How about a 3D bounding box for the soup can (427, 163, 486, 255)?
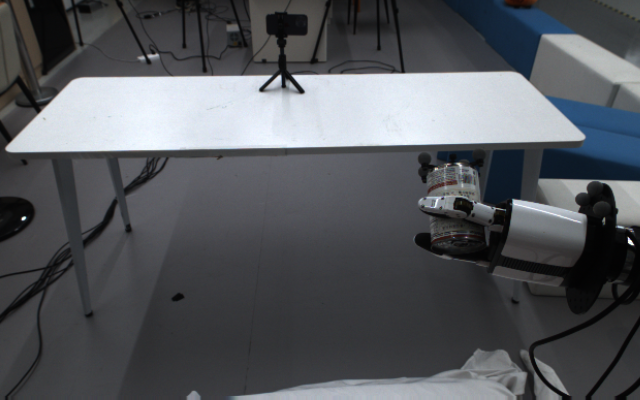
[{"bbox_3d":[0.174,0.012,0.619,0.067,0.067,0.101,2,68,0],"label":"soup can"}]
